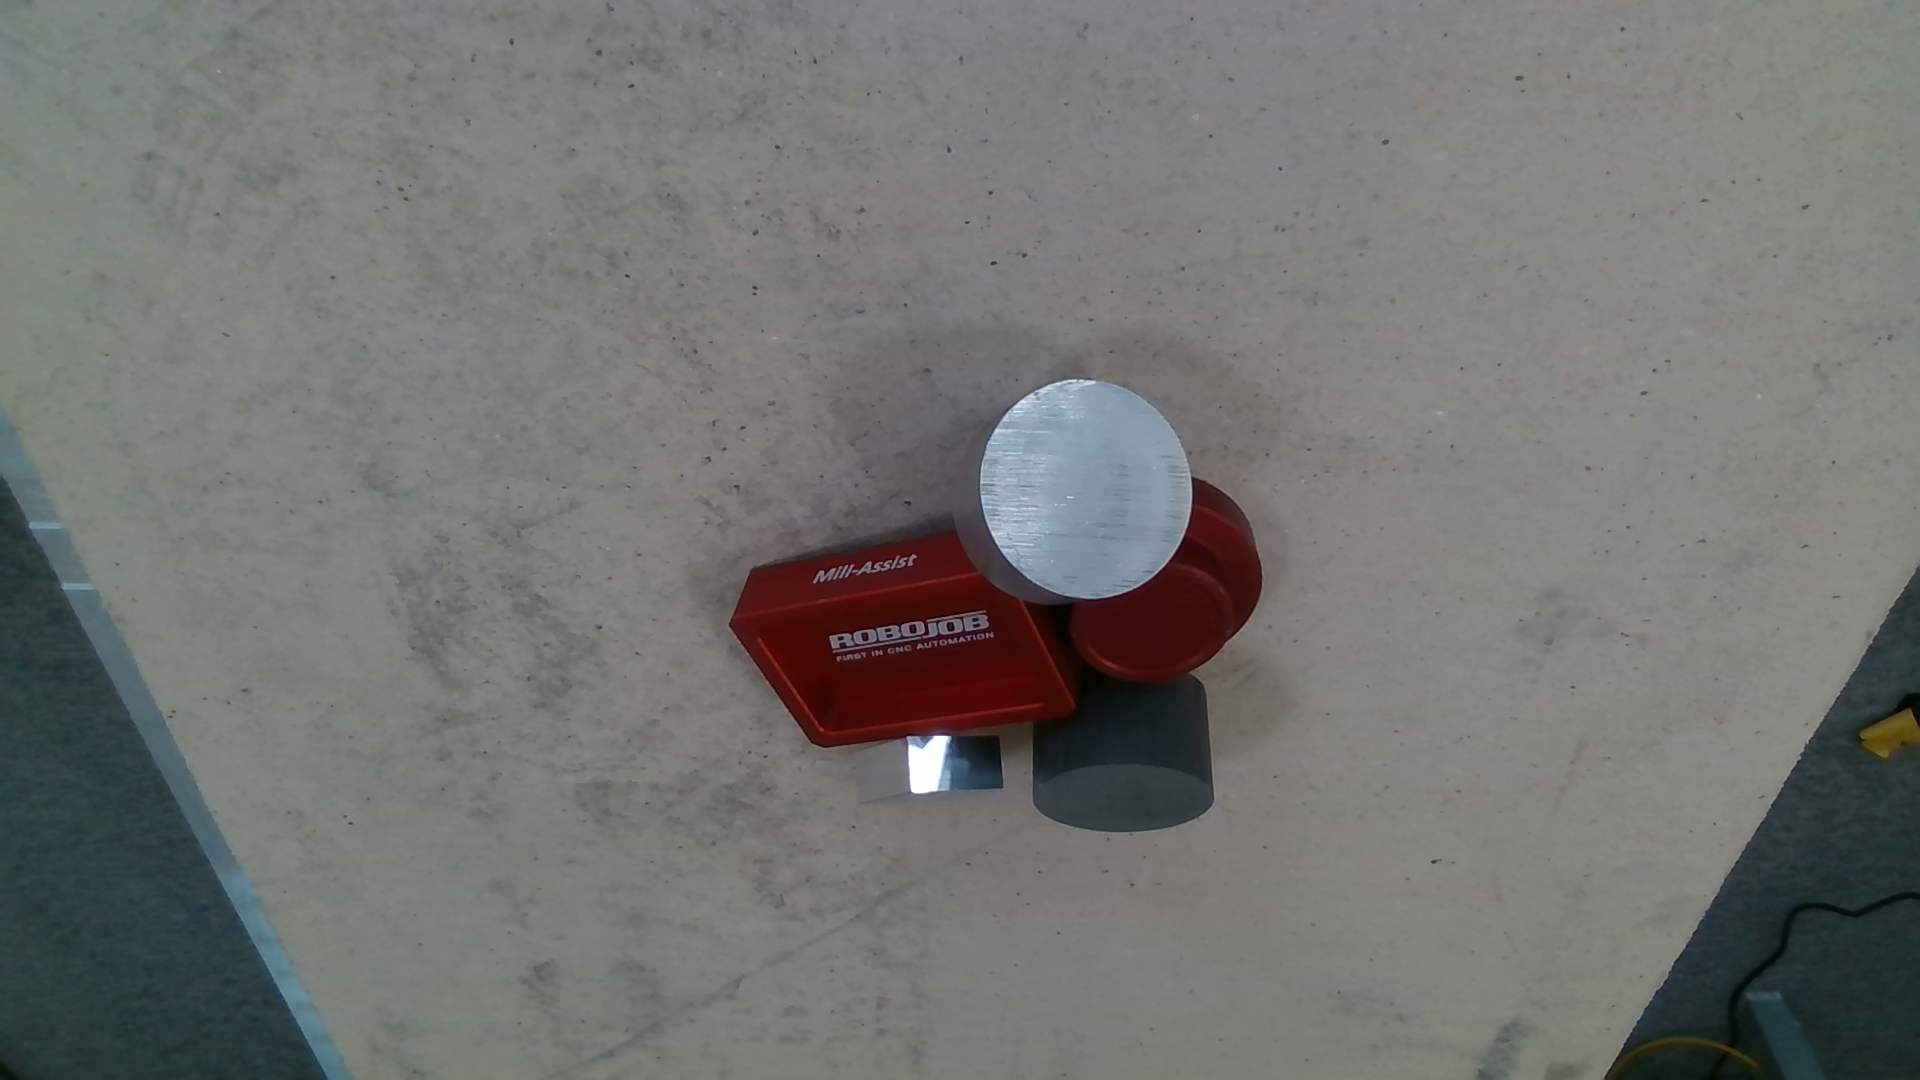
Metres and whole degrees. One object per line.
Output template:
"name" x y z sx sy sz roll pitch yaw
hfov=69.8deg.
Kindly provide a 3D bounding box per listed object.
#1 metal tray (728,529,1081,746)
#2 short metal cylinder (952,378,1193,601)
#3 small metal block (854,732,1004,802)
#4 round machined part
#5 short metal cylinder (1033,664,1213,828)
"metal tray" -0.023 0.043 0.598 0.130 0.030 0.090 -11 130 21
"short metal cylinder" 0.041 -0.017 0.521 0.080 0.080 0.050 13 173 -10
"small metal block" -0.015 0.107 0.647 0.050 0.025 0.050 5 162 -33
"round machined part" 0.080 0.021 0.587 0.098 0.042 0.098 0 130 0
"short metal cylinder" 0.073 0.094 0.629 0.080 0.050 0.080 1 148 1
